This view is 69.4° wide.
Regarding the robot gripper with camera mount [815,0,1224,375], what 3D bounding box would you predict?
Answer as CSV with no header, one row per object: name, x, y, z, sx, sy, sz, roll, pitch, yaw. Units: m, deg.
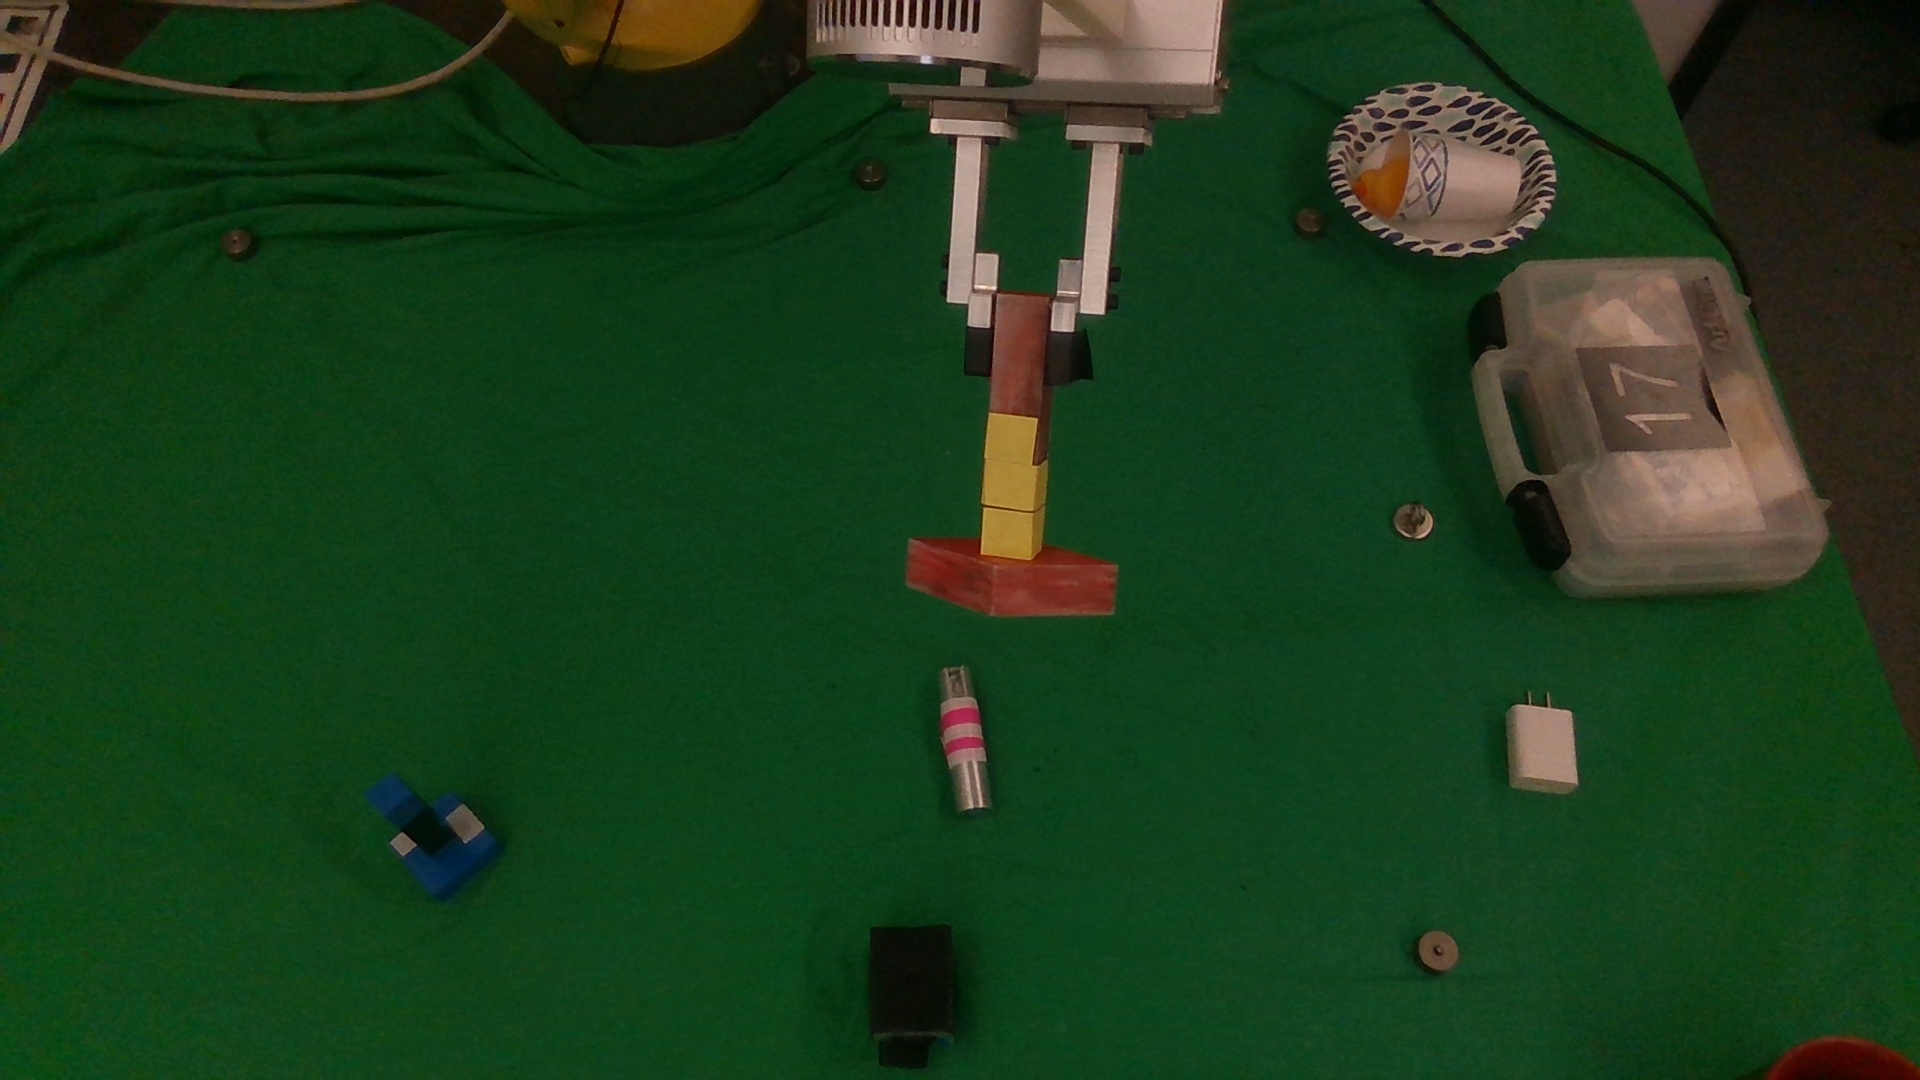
robot gripper with camera mount,0.013,-0.121,0.424,0.119,0.193,0.158,6,105,11

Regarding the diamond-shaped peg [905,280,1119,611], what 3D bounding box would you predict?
diamond-shaped peg,0.022,-0.036,0.523,0.074,0.045,0.122,2,101,-10
